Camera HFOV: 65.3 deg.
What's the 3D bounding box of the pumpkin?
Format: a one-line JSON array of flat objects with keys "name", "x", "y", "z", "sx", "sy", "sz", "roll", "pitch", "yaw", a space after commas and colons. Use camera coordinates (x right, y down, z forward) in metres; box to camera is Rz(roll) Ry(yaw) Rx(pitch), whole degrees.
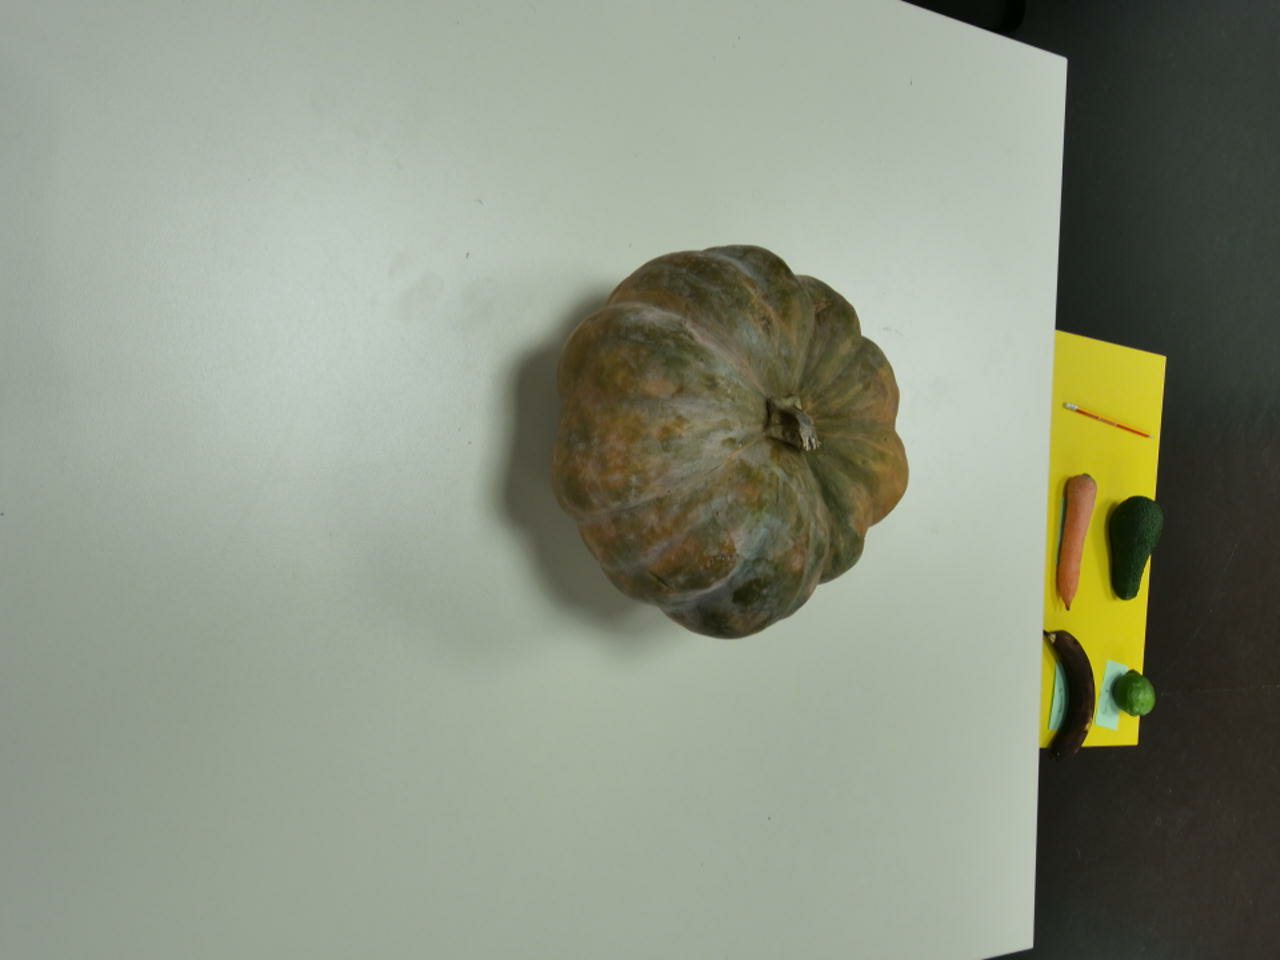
[{"name": "pumpkin", "x": 0.059, "y": -0.030, "z": 0.654, "sx": 0.252, "sy": 0.169, "sz": 0.252, "roll": 0, "pitch": 91, "yaw": -29}]
